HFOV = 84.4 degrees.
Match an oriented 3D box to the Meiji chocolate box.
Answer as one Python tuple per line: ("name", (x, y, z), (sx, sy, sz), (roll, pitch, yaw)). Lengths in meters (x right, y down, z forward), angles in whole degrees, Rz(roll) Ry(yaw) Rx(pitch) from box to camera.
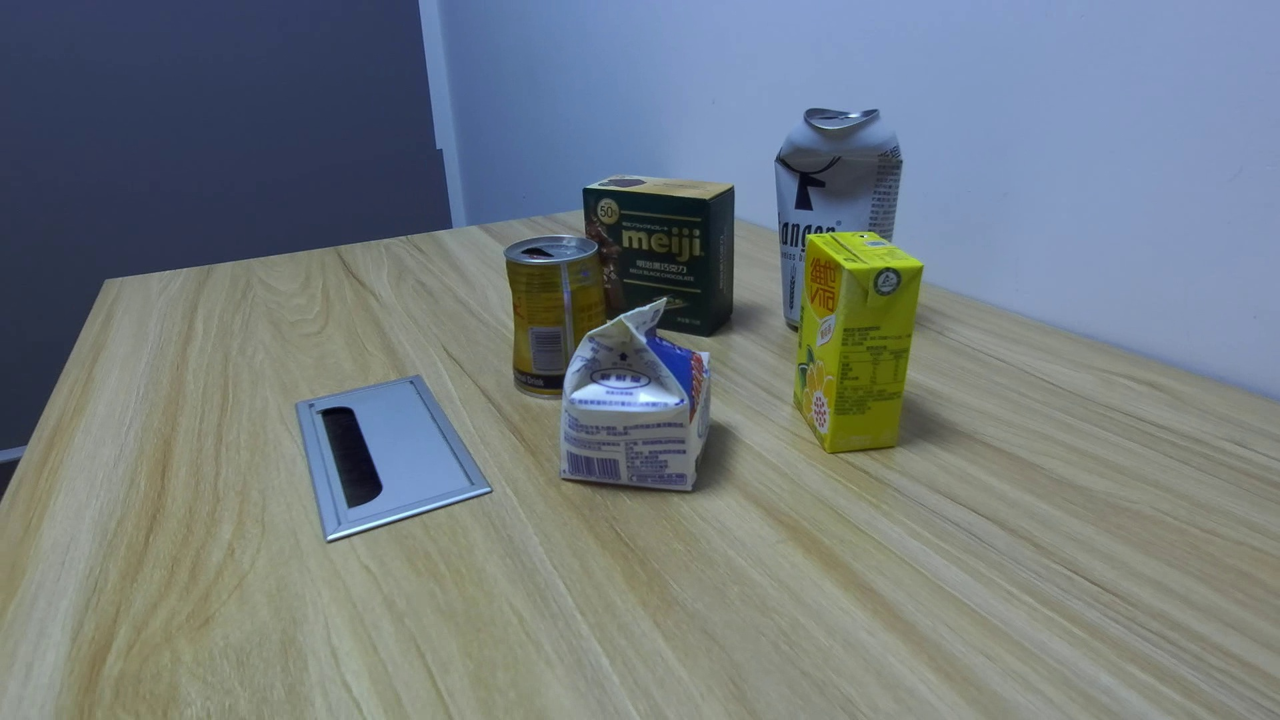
("Meiji chocolate box", (0.016, -0.083, 0.557), (0.109, 0.109, 0.056), (12, 28, 26))

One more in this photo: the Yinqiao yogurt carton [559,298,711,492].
("Yinqiao yogurt carton", (-0.002, 0.010, 0.374), (0.077, 0.093, 0.083), (4, 25, 12))

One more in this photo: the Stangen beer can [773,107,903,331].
("Stangen beer can", (0.142, -0.098, 0.522), (0.077, 0.162, 0.065), (-6, 25, -10))

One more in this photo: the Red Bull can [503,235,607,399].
("Red Bull can", (-0.056, -0.027, 0.469), (0.069, 0.092, 0.069), (-1, 18, 1))

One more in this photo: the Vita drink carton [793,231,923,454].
("Vita drink carton", (0.121, -0.011, 0.397), (0.043, 0.109, 0.066), (-3, 25, -4))
